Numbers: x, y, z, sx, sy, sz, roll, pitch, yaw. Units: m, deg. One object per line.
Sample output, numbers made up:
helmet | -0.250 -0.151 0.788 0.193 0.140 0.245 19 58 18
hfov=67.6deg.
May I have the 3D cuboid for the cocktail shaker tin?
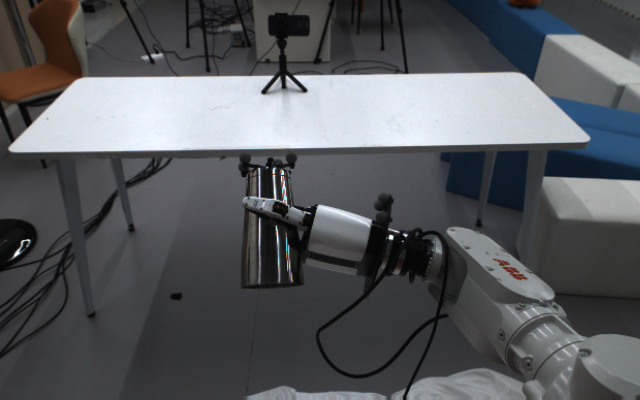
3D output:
cocktail shaker tin | -0.074 0.042 0.716 0.093 0.093 0.170 -3 76 -7
